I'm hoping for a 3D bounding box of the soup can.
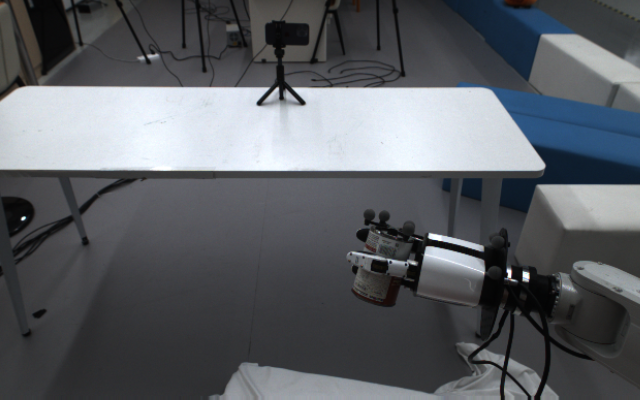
[{"bbox_3d":[0.093,0.095,0.707,0.067,0.101,0.067,15,7,-2],"label":"soup can"}]
